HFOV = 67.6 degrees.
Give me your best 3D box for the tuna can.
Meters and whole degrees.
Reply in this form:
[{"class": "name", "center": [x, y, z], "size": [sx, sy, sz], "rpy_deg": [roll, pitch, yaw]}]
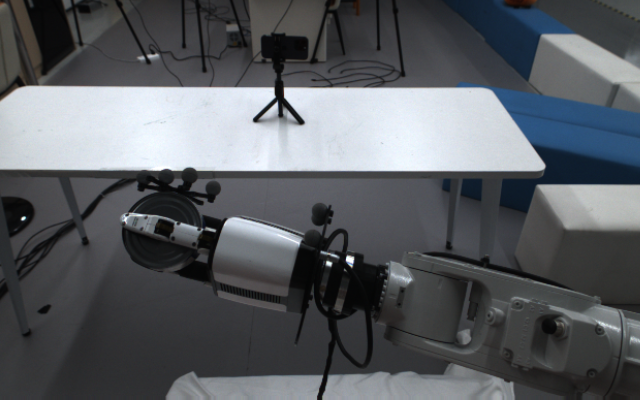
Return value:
[{"class": "tuna can", "center": [-0.169, 0.035, 0.535], "size": [0.085, 0.034, 0.085], "rpy_deg": [1, 72, -2]}]
